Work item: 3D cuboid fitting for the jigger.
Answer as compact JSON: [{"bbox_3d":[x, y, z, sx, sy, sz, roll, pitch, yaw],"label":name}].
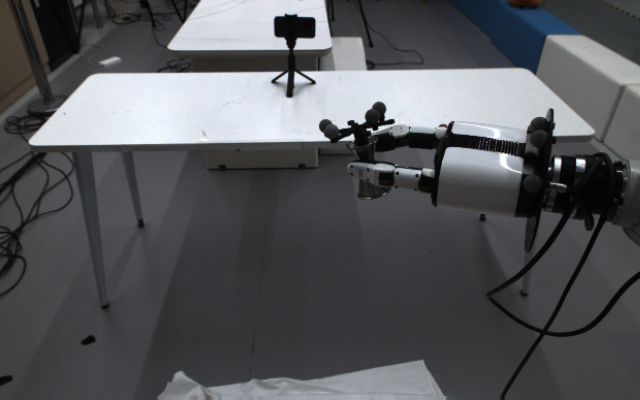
[{"bbox_3d":[0.060,-0.040,0.599,0.043,0.071,0.043,-14,21,6],"label":"jigger"}]
